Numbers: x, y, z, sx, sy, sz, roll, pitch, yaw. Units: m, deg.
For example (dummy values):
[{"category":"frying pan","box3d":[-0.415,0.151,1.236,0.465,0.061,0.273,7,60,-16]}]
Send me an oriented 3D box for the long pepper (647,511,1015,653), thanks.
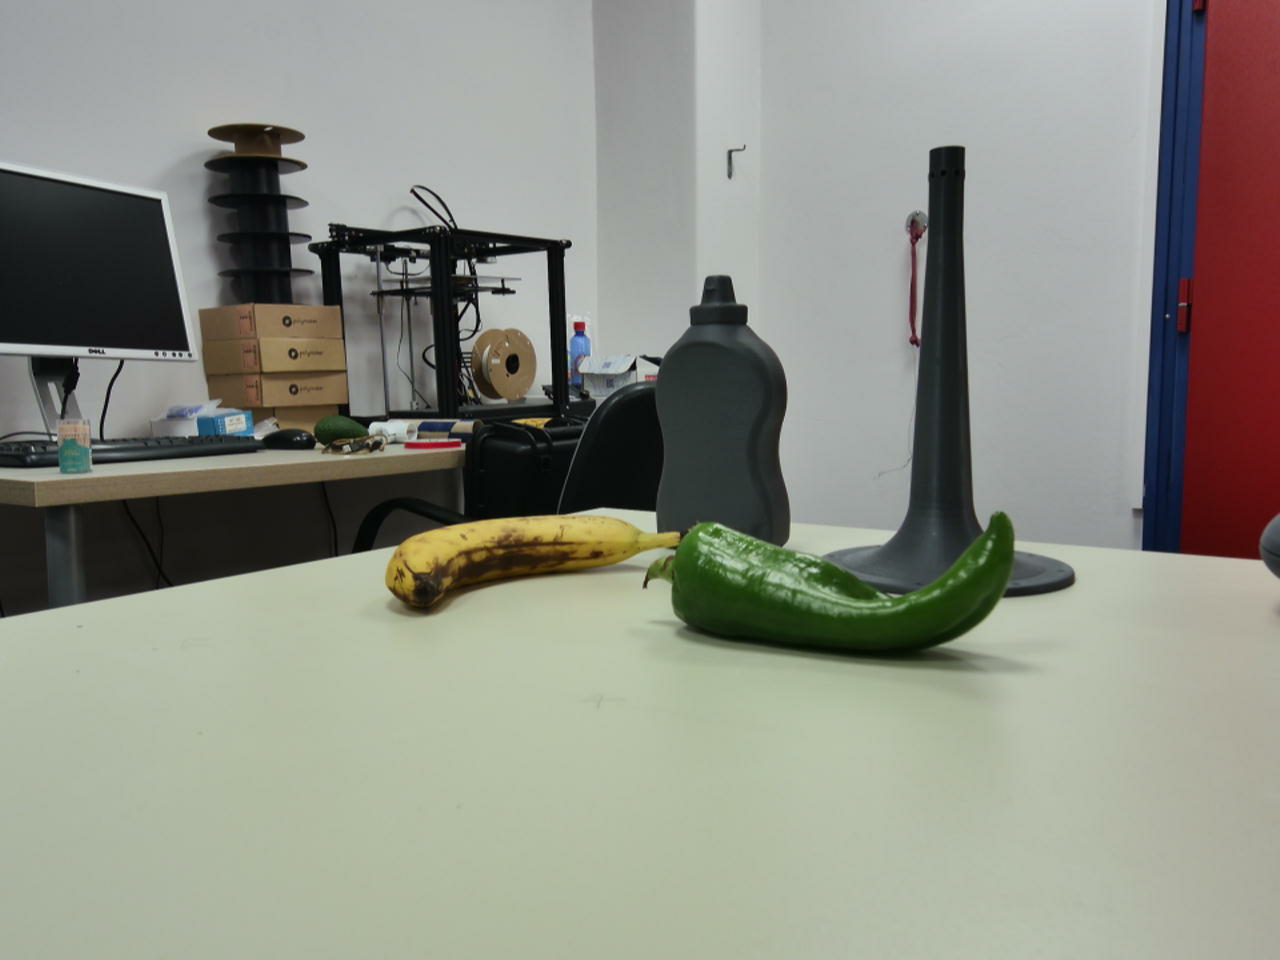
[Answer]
[{"category":"long pepper","box3d":[0.077,0.042,0.456,0.175,0.065,0.058,3,4,36]}]
